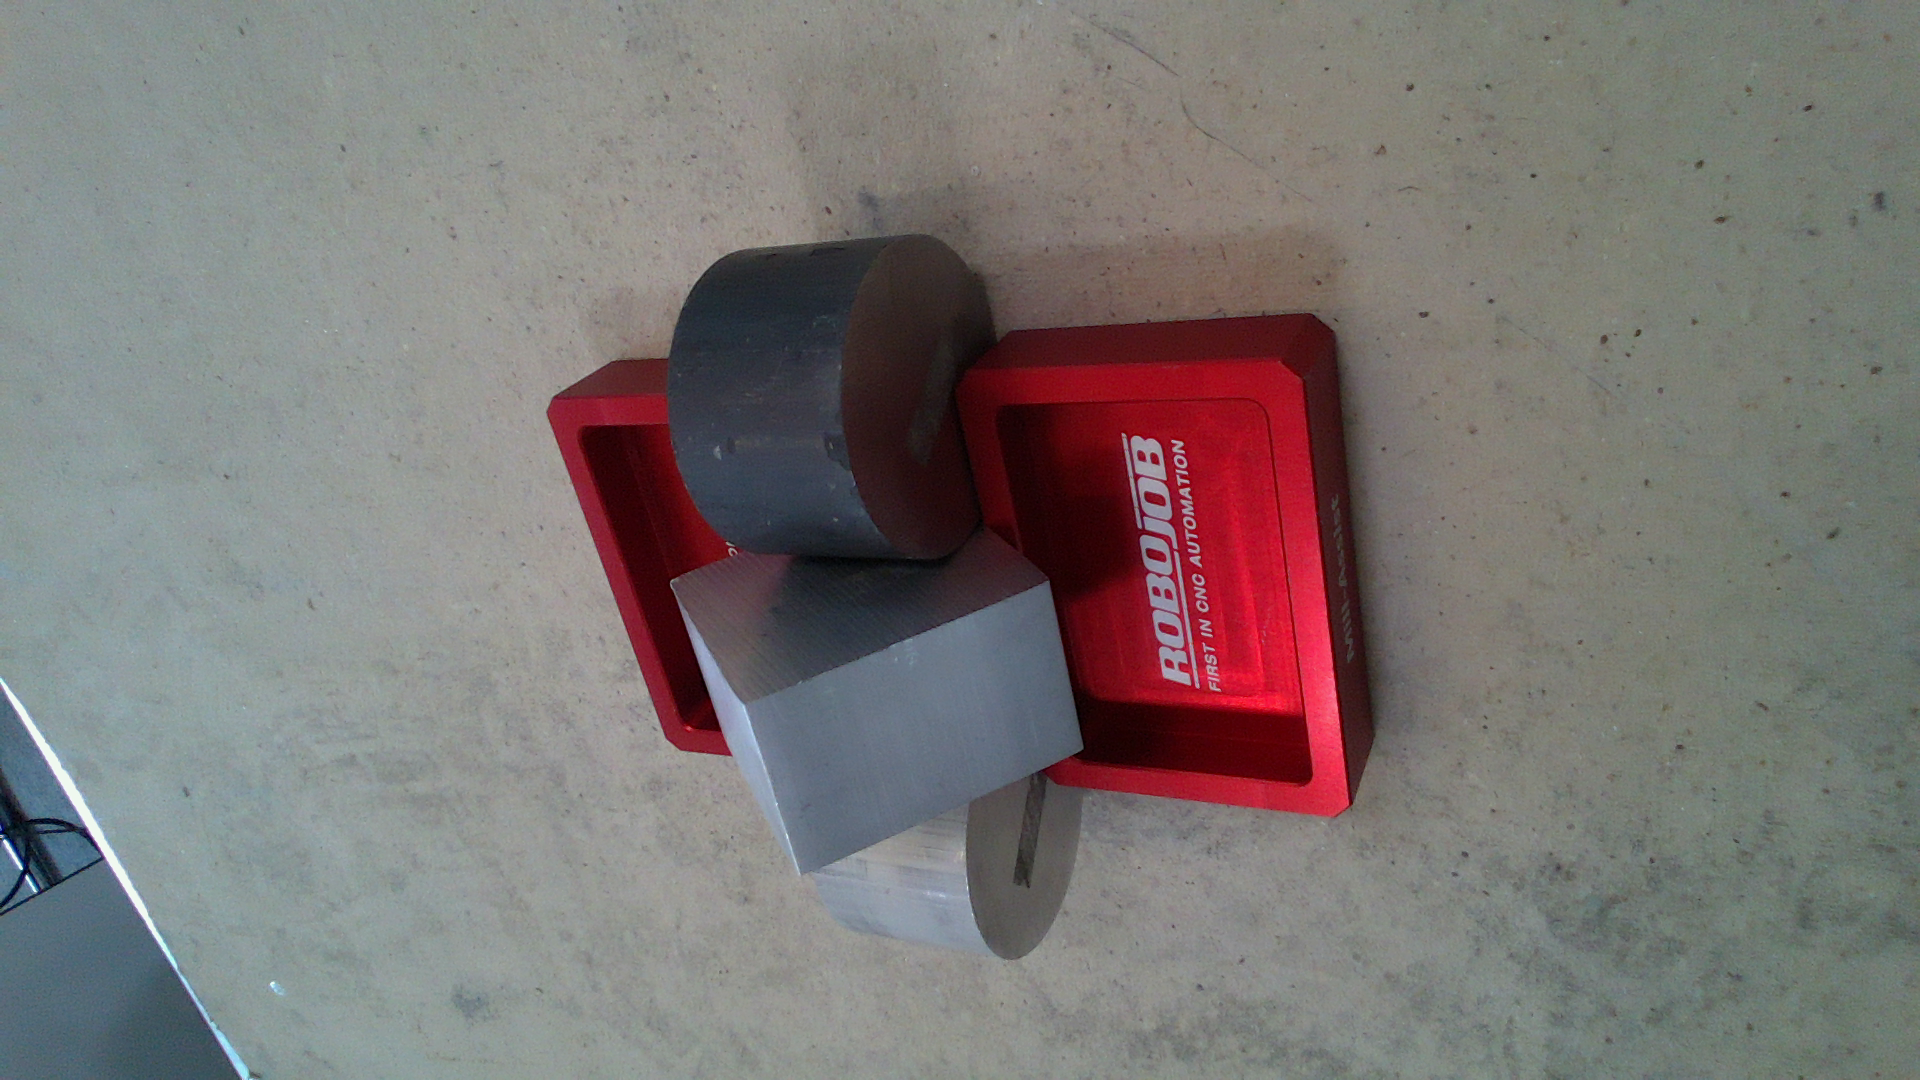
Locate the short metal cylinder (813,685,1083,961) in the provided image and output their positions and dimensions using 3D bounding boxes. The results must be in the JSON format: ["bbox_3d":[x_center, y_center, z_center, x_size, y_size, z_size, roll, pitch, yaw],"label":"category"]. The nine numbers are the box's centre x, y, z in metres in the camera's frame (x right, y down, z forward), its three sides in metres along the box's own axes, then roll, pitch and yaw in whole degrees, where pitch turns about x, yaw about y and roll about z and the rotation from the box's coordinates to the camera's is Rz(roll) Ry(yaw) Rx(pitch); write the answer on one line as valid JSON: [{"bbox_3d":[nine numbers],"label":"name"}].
[{"bbox_3d":[-0.002,0.079,0.407,0.050,0.080,0.080,2,119,27],"label":"short metal cylinder"}]

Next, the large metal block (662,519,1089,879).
[{"bbox_3d":[-0.024,0.032,0.363,0.080,0.080,0.050,39,147,58],"label":"large metal block"}]

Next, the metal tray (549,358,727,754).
[{"bbox_3d":[-0.066,0.008,0.431,0.090,0.030,0.130,1,119,28],"label":"metal tray"}]

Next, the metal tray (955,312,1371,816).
[{"bbox_3d":[0.057,0.008,0.365,0.090,0.030,0.130,1,119,28],"label":"metal tray"}]

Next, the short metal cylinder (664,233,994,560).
[{"bbox_3d":[-0.030,-0.036,0.351,0.050,0.080,0.080,2,119,27],"label":"short metal cylinder"}]
